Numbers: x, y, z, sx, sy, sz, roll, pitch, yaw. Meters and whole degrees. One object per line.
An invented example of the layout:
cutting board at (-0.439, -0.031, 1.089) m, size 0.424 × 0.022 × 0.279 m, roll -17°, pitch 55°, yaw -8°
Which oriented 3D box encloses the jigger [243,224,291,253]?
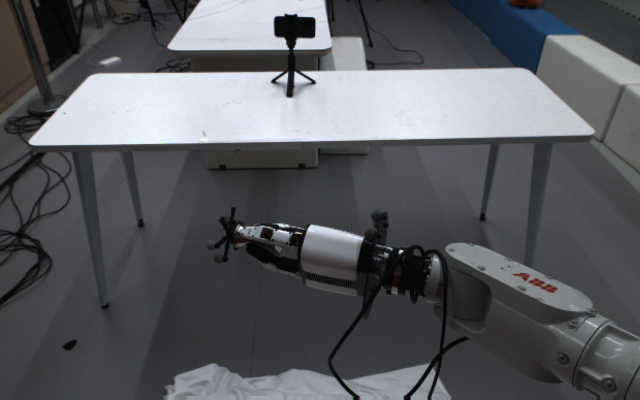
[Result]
jigger at (-0.089, 0.056, 0.751) m, size 0.071 × 0.043 × 0.043 m, roll 7°, pitch 35°, yaw 15°
